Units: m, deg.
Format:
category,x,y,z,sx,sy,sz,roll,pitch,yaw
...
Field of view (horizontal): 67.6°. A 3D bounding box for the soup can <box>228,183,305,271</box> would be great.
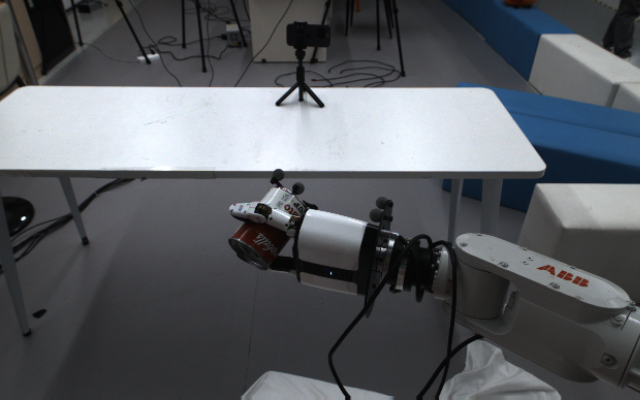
category,x,y,z,sx,sy,sz,roll,pitch,yaw
soup can,-0.070,0.038,0.677,0.067,0.067,0.101,23,60,27
